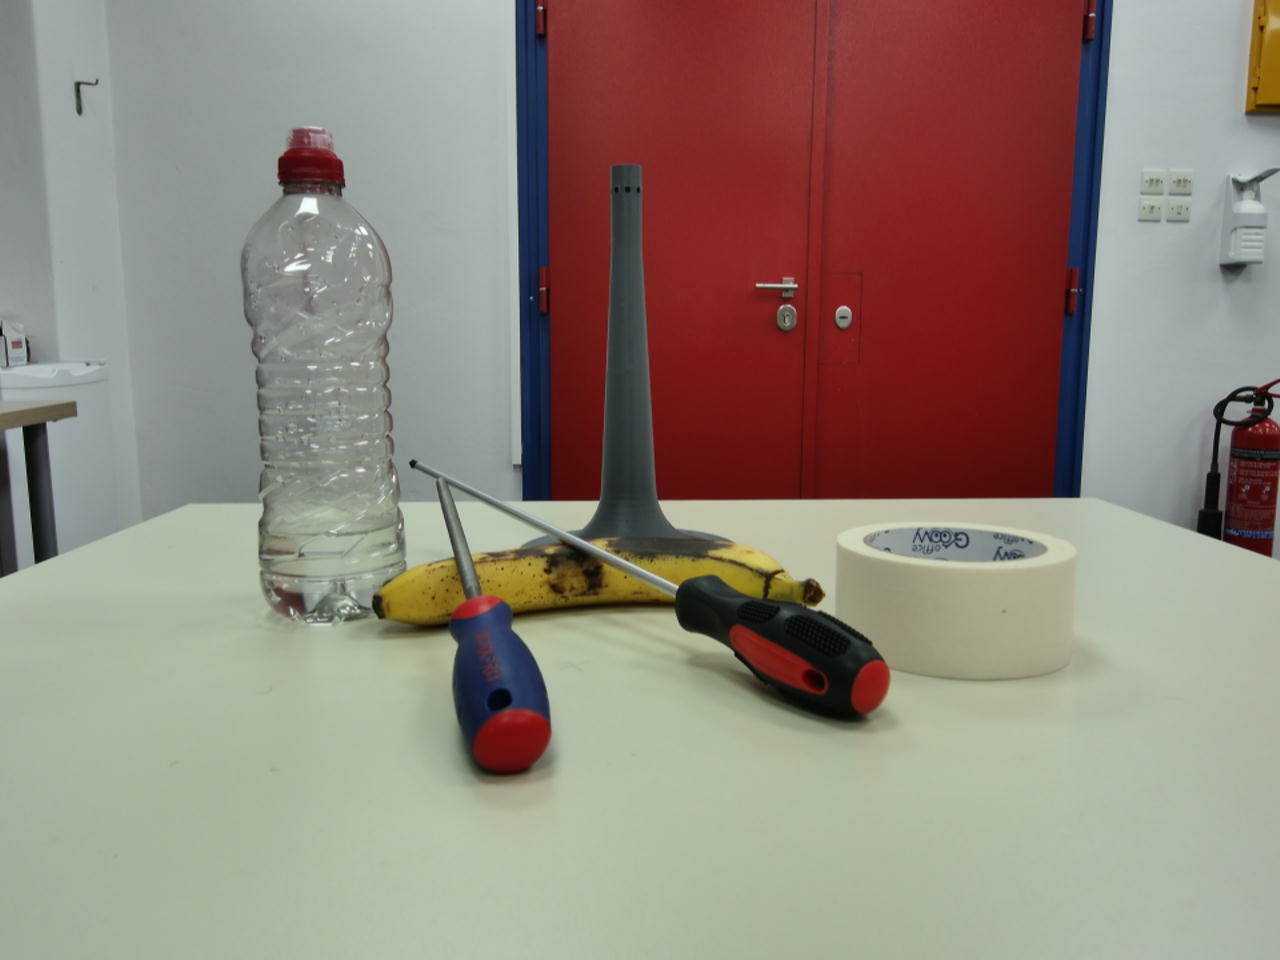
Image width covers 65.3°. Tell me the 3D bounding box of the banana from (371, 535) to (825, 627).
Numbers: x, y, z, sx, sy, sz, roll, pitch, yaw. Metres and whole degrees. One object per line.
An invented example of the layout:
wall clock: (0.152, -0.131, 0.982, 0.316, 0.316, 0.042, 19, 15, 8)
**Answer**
banana: (-0.021, 0.052, 0.526, 0.222, 0.037, 0.084, 0, 6, -1)
